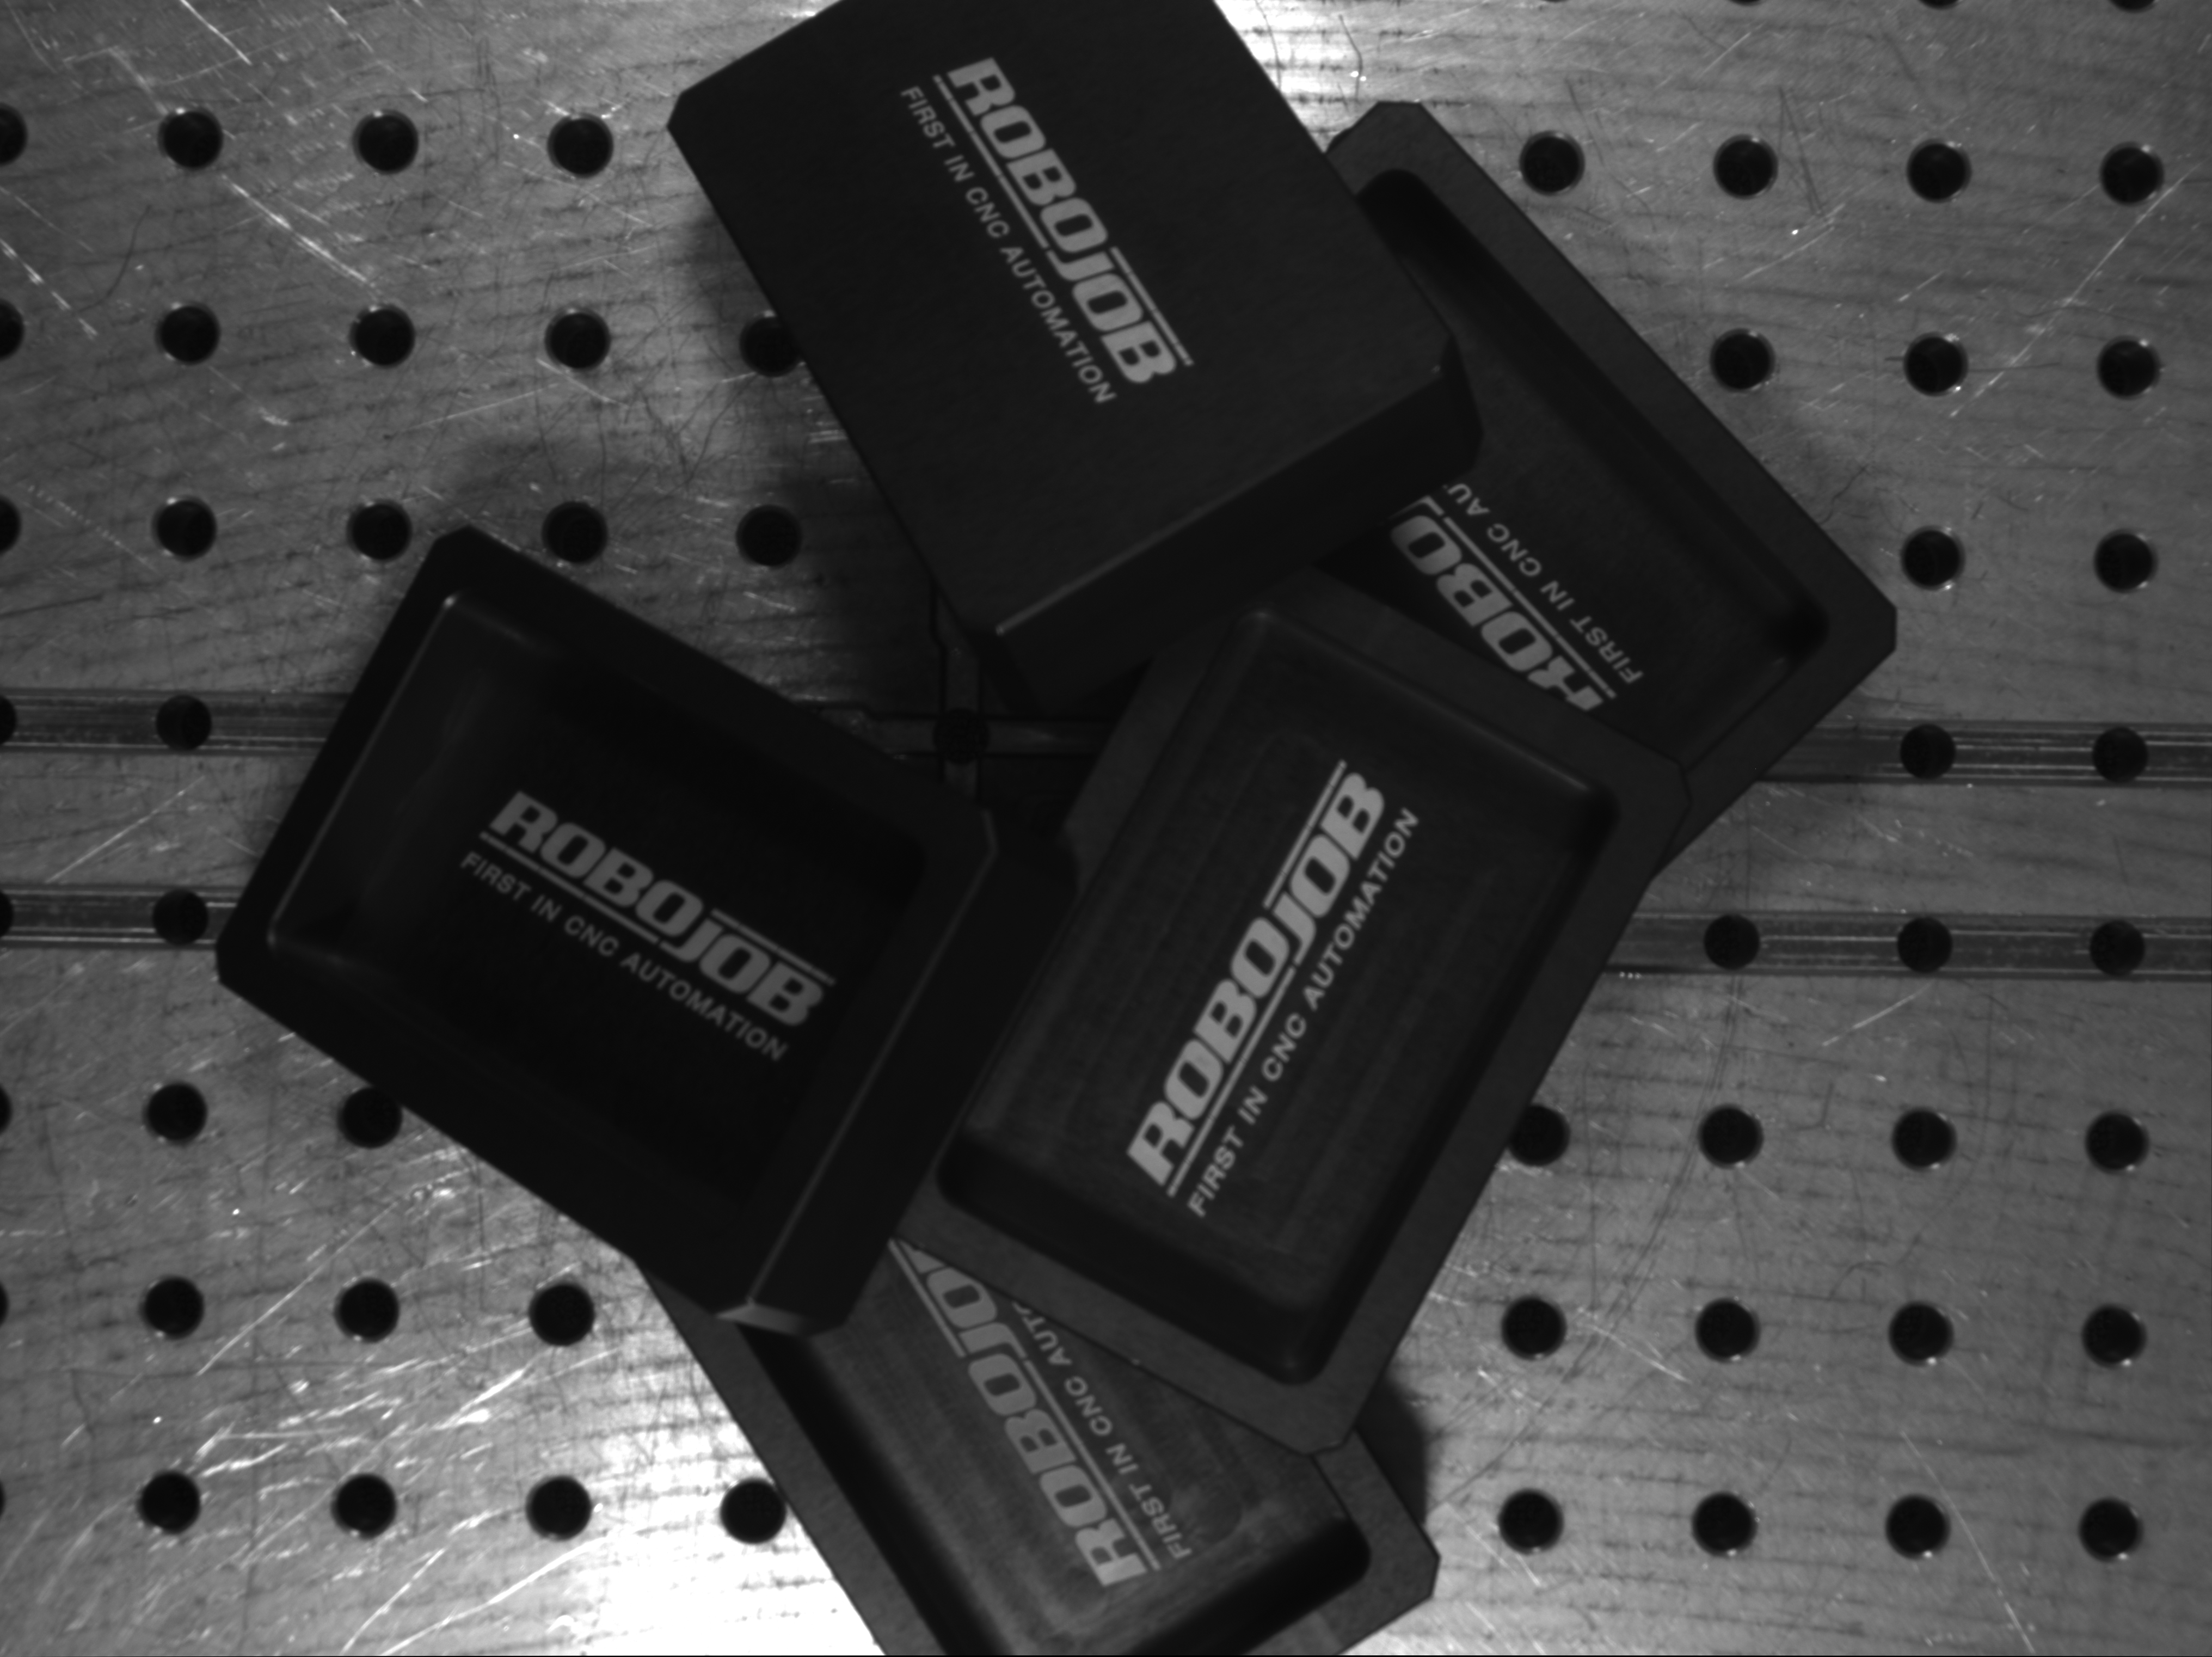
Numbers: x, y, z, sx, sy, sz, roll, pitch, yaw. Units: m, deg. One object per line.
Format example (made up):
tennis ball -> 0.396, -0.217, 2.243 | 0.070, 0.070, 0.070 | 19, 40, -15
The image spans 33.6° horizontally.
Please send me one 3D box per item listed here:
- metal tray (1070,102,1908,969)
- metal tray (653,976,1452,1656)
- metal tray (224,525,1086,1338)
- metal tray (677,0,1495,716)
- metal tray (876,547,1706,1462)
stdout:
metal tray -> 0.065, -0.050, 0.645 | 0.090, 0.030, 0.130 | -43, 90, 0
metal tray -> -0.011, 0.100, 0.644 | 0.090, 0.030, 0.130 | -33, 90, 0
metal tray -> -0.078, 0.015, 0.614 | 0.130, 0.030, 0.090 | 28, 90, 30
metal tray -> -0.005, -0.093, 0.615 | 0.090, 0.030, 0.130 | -30, 60, -1
metal tray -> 0.030, 0.028, 0.615 | 0.090, 0.030, 0.130 | 29, 90, 0
